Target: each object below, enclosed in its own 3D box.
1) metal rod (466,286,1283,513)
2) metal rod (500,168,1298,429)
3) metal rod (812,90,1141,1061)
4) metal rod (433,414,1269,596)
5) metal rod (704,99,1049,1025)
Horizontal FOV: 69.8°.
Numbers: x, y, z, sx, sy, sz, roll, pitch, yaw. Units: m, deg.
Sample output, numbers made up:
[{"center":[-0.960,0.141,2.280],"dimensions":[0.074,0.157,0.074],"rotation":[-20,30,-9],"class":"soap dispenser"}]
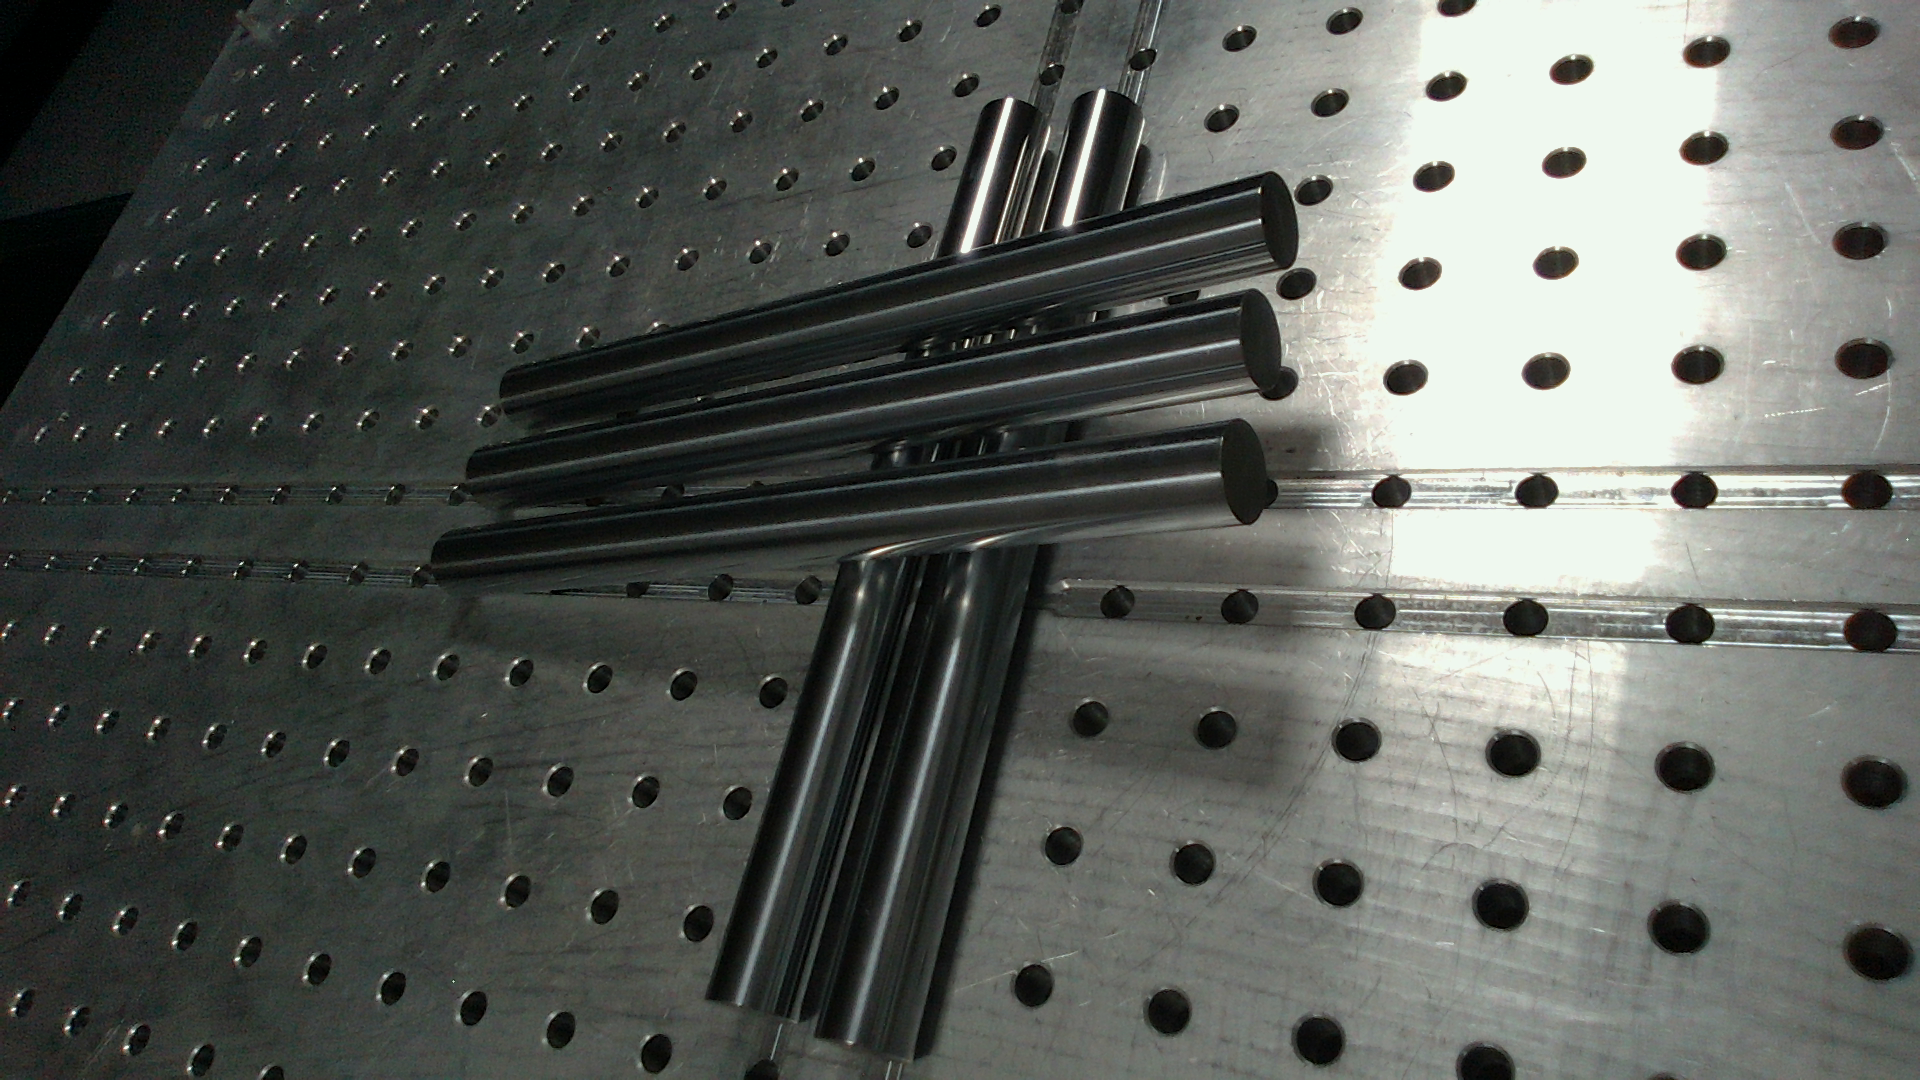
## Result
[{"center":[-0.048,-0.036,0.418],"dimensions":[0.299,0.025,0.025],"rotation":[-6,58,35],"class":"metal rod"},{"center":[-0.041,-0.068,0.434],"dimensions":[0.299,0.025,0.025],"rotation":[-7,58,35],"class":"metal rod"},{"center":[0.012,-0.008,0.396],"dimensions":[0.025,0.025,0.300],"rotation":[1,62,29],"class":"metal rod"},{"center":[-0.055,-0.004,0.402],"dimensions":[0.299,0.025,0.025],"rotation":[-6,59,36],"class":"metal rod"},{"center":[-0.017,-0.011,0.414],"dimensions":[0.025,0.025,0.300],"rotation":[1,62,29],"class":"metal rod"}]
